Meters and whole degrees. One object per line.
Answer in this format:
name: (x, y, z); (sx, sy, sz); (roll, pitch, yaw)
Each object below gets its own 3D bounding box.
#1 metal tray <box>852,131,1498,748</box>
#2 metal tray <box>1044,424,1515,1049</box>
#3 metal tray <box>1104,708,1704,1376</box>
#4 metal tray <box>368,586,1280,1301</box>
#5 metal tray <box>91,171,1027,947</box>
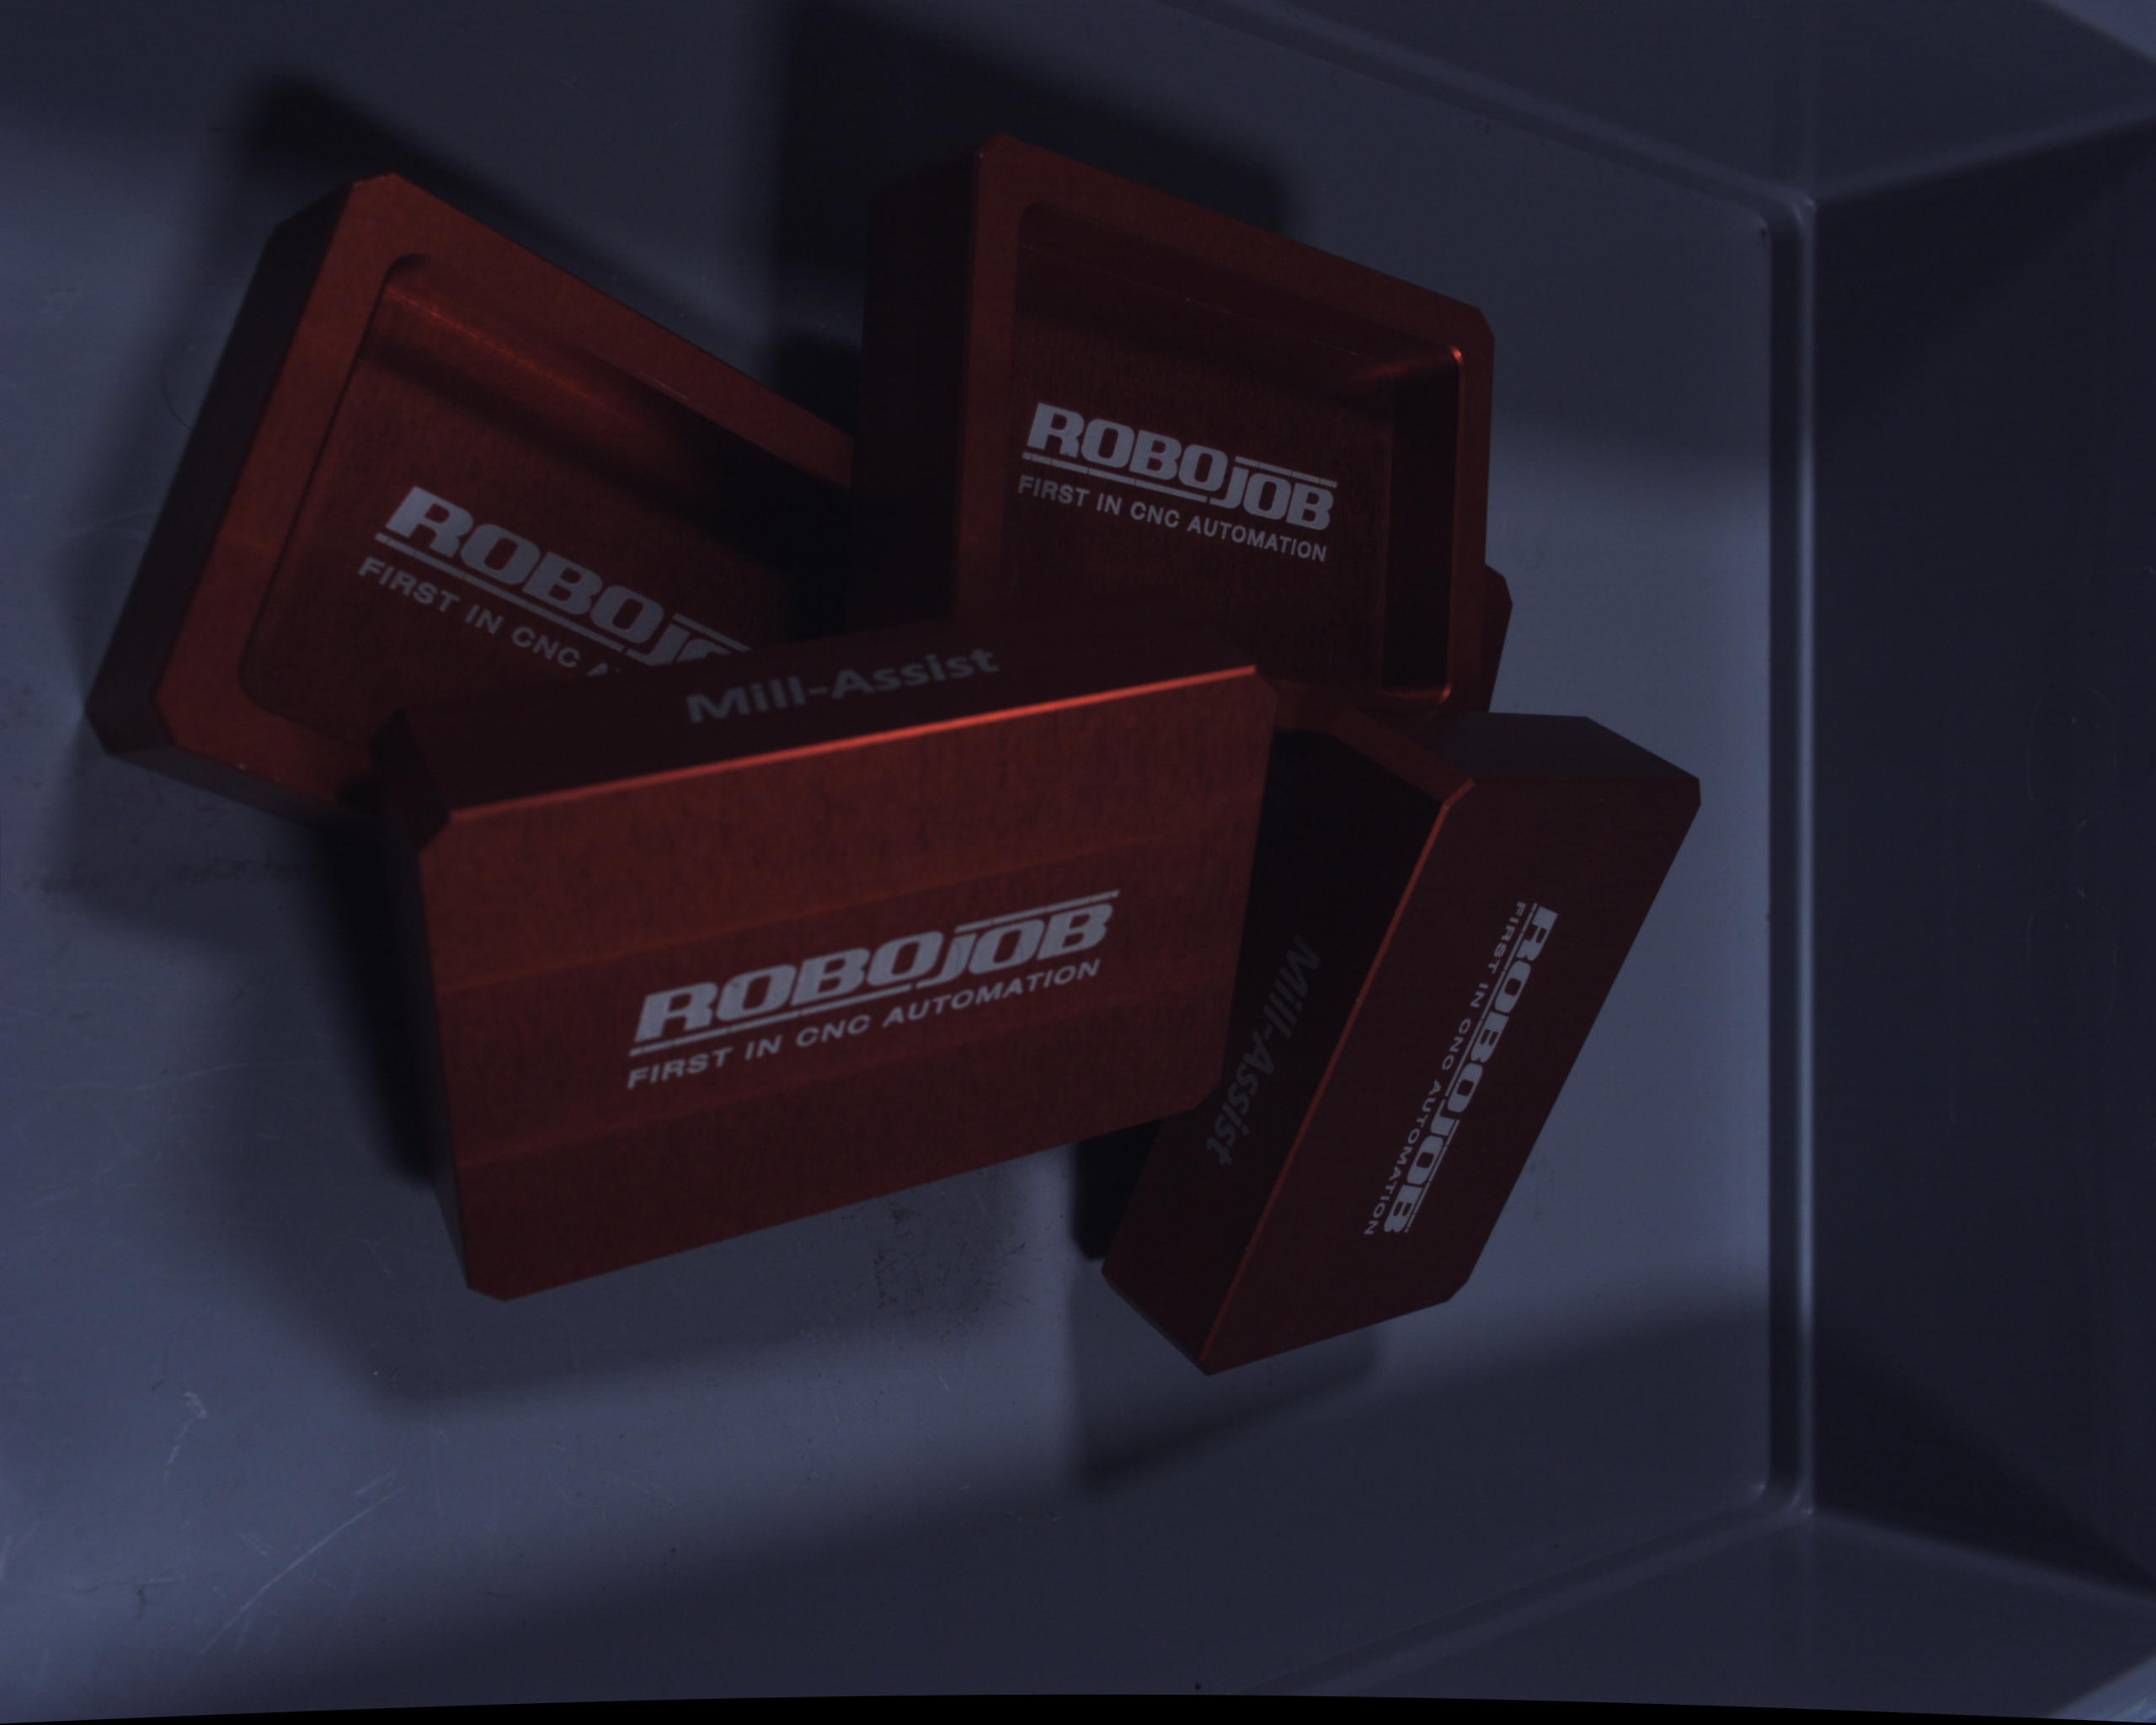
metal tray: (0.023, -0.069, 0.382); (0.131, 0.030, 0.089); (5, 87, -40)
metal tray: (0.041, -0.016, 0.437); (0.090, 0.030, 0.130); (25, 74, -38)
metal tray: (0.066, 0.035, 0.417); (0.091, 0.030, 0.129); (-2, 120, -46)
metal tray: (-0.037, 0.011, 0.328); (0.131, 0.030, 0.089); (-12, 128, -24)
metal tray: (-0.075, -0.037, 0.338); (0.131, 0.030, 0.090); (25, 74, -38)
